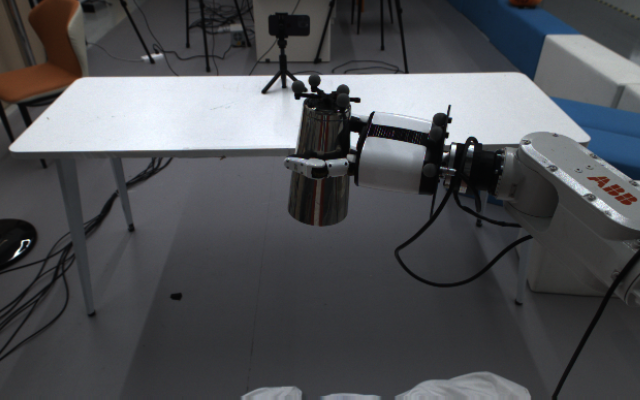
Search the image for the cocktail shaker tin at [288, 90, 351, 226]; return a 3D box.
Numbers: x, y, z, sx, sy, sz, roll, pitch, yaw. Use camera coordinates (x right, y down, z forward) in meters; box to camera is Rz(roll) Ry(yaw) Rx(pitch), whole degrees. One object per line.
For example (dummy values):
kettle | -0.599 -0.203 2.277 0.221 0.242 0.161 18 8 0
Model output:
cocktail shaker tin | 0.003 -0.059 0.694 0.093 0.170 0.093 4 32 -2
